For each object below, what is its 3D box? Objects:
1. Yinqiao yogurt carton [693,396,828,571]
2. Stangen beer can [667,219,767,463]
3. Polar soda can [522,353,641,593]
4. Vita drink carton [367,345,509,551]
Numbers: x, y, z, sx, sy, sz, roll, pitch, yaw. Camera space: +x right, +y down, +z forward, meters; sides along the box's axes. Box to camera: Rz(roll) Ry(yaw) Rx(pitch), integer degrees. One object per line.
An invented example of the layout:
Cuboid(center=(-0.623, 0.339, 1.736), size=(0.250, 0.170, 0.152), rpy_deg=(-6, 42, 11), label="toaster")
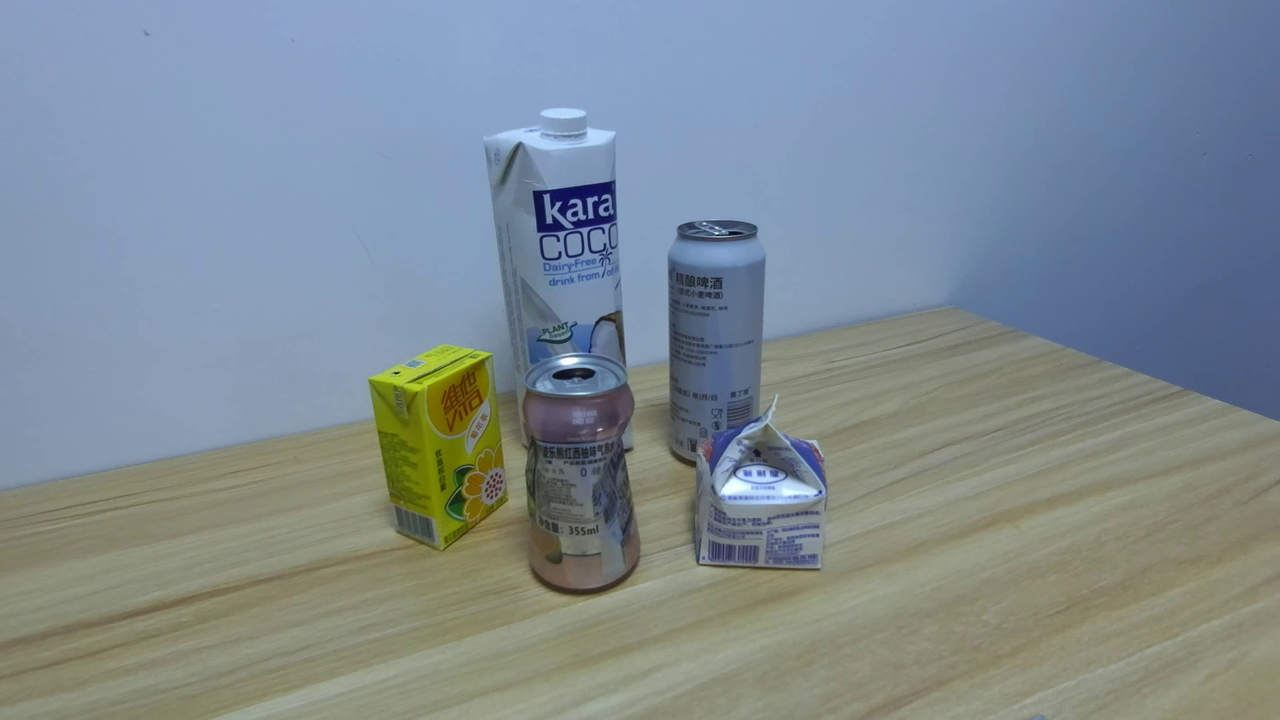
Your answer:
Cuboid(center=(0.071, 0.066, 0.416), size=(0.077, 0.093, 0.083), rpy_deg=(0, 21, 6), label="Yinqiao yogurt carton")
Cuboid(center=(0.054, -0.010, 0.500), size=(0.067, 0.171, 0.067), rpy_deg=(-1, 20, 1), label="Stangen beer can")
Cuboid(center=(-0.032, 0.063, 0.400), size=(0.067, 0.122, 0.074), rpy_deg=(19, 30, 40), label="Polar soda can")
Cuboid(center=(-0.124, 0.053, 0.447), size=(0.043, 0.109, 0.067), rpy_deg=(11, 25, 28), label="Vita drink carton")
